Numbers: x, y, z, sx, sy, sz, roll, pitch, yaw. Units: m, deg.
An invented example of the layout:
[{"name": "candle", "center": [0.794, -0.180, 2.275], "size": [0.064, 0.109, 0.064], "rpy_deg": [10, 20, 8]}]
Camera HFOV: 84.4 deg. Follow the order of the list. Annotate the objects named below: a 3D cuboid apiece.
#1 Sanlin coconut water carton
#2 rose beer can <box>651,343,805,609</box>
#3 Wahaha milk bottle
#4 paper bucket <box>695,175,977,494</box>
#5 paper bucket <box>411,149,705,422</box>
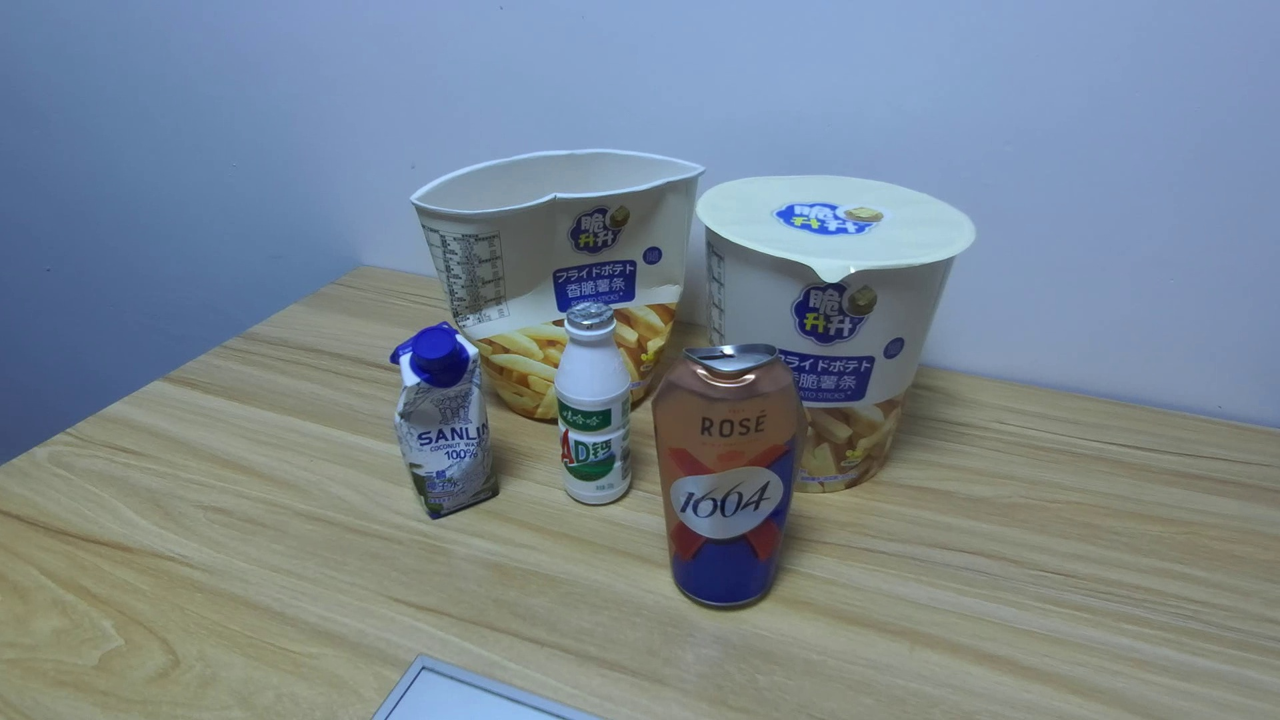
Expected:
[{"name": "Sanlin coconut water carton", "center": [-0.140, 0.037, 0.493], "size": [0.061, 0.144, 0.069], "rpy_deg": [-18, 36, -26]}, {"name": "rose beer can", "center": [0.053, 0.069, 0.421], "size": [0.069, 0.168, 0.069], "rpy_deg": [18, 33, 32]}, {"name": "Wahaha milk bottle", "center": [-0.032, 0.032, 0.496], "size": [0.053, 0.147, 0.053], "rpy_deg": [0, 32, 0]}, {"name": "paper bucket", "center": [0.134, -0.021, 0.541], "size": [0.198, 0.195, 0.198], "rpy_deg": [0, 31, 0]}, {"name": "paper bucket", "center": [-0.055, -0.065, 0.604], "size": [0.147, 0.199, 0.218], "rpy_deg": [21, 37, 30]}]
